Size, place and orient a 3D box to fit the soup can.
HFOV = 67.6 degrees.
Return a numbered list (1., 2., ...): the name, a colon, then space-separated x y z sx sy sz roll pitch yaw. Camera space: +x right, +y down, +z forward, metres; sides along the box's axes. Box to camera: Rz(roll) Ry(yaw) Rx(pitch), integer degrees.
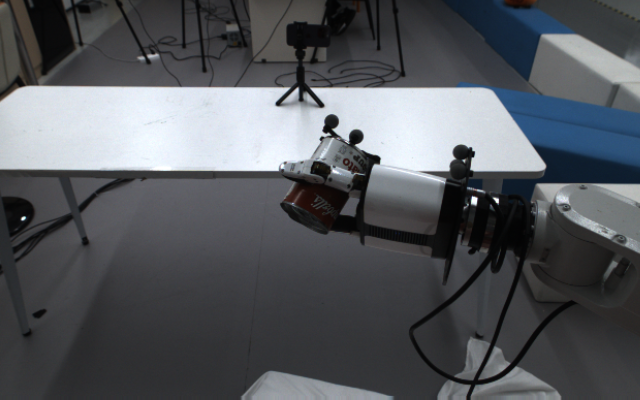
1. soup can: 0.008 -0.018 0.585 0.067 0.067 0.101 24 73 28
